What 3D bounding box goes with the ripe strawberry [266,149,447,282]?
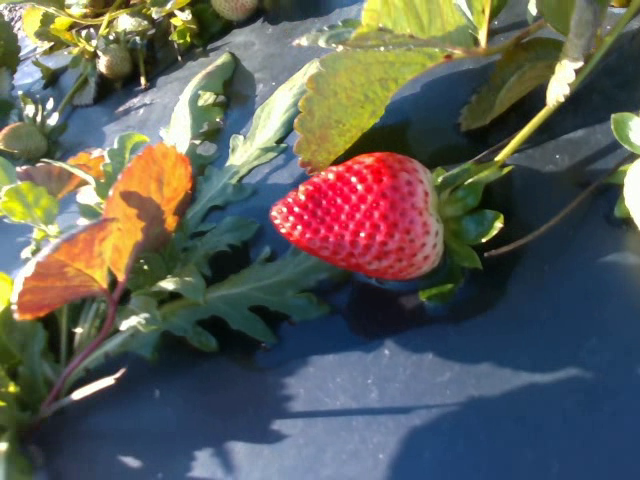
[{"bbox_3d":[0.010,-0.007,0.153,0.053,0.044,0.036,-4,-4,-2],"label":"ripe strawberry"}]
